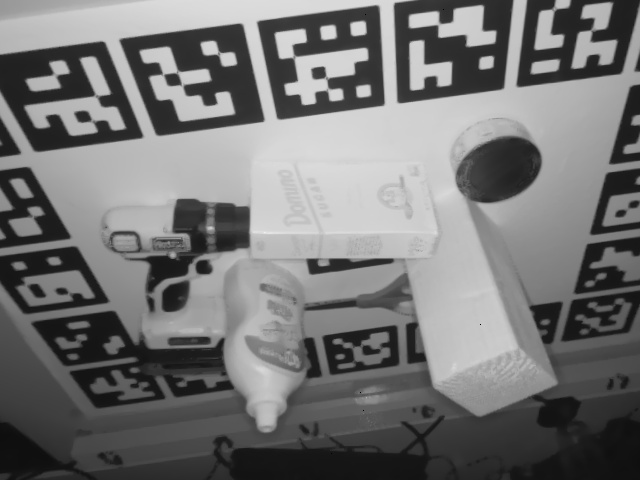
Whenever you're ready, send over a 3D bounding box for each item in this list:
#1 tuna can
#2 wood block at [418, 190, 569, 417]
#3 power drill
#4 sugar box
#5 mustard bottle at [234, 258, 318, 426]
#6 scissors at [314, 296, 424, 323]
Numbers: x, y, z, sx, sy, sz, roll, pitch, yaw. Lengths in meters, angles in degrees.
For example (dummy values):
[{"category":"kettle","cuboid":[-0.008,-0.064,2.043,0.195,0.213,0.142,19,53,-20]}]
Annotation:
[{"category":"tuna can","cuboid":[0.192,-0.075,0.686,0.086,0.034,0.085,-3,131,-3]},{"category":"wood block","cuboid":[0.168,0.058,0.703,0.090,0.207,0.090,-29,127,19]},{"category":"power drill","cuboid":[-0.103,0.039,0.740,0.186,0.057,0.185,2,125,-9]},{"category":"sugar box","cuboid":[0.030,-0.032,0.672,0.177,0.093,0.045,3,135,-7]},{"category":"mustard bottle","cuboid":[-0.046,0.109,0.731,0.097,0.193,0.057,34,120,-29]},{"category":"scissors","cuboid":[0.093,0.084,0.832,0.203,0.016,0.087,-6,136,-2]}]
